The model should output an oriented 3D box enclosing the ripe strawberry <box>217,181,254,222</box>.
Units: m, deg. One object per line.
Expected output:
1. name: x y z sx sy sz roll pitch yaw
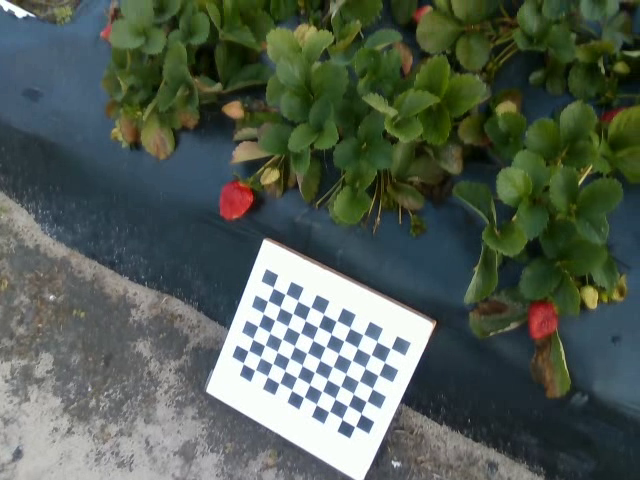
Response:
1. ripe strawberry: -0.151 -0.068 1.378 0.067 0.075 0.039 31 15 19
